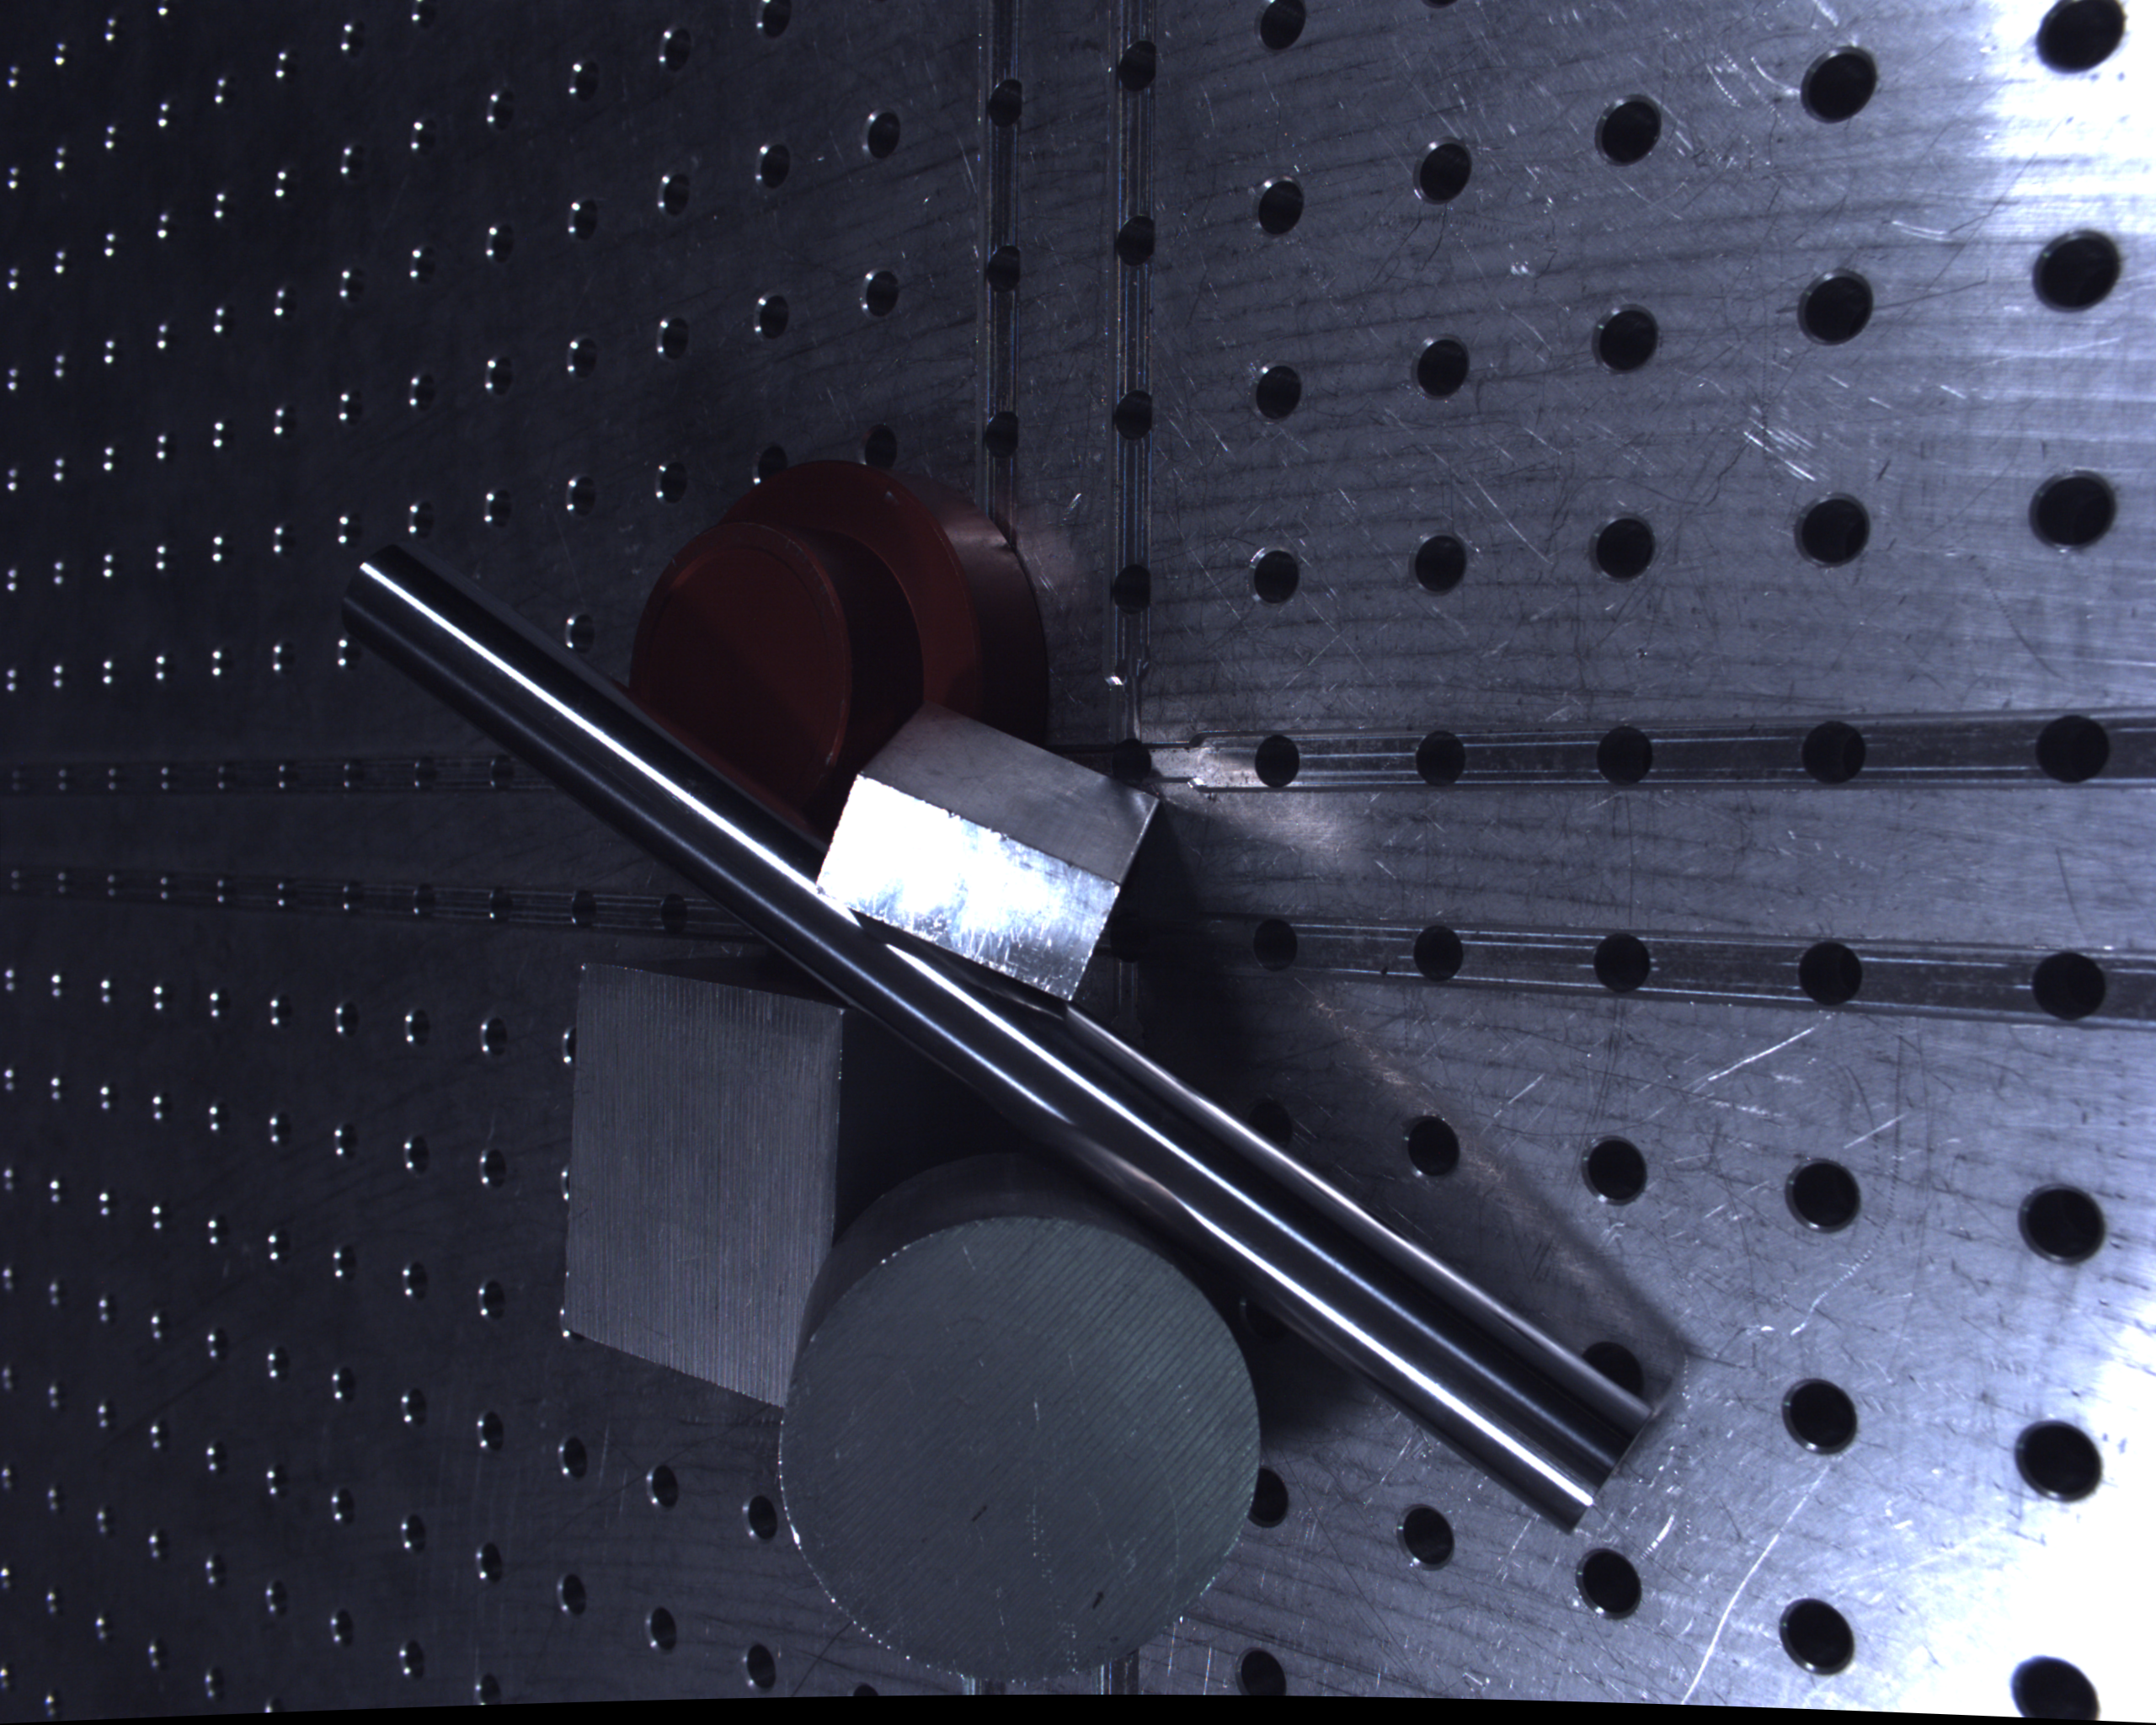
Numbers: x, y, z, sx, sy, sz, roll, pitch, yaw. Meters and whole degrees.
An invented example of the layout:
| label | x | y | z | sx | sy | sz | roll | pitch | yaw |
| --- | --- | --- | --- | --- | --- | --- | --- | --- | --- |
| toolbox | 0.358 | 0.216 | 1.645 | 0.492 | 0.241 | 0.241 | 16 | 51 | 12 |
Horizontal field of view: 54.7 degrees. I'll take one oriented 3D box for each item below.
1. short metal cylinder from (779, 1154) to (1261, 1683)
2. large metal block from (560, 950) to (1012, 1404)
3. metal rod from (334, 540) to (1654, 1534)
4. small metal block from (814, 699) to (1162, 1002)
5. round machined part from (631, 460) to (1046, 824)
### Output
| label | x | y | z | sx | sy | sz | roll | pitch | yaw |
| --- | --- | --- | --- | --- | --- | --- | --- | --- | --- |
| short metal cylinder | -0.011 | 0.096 | 0.373 | 0.081 | 0.050 | 0.079 | 0 | 94 | -5 |
| large metal block | -0.061 | 0.063 | 0.438 | 0.080 | 0.050 | 0.079 | 6 | 94 | 39 |
| metal rod | -0.031 | 0.020 | 0.390 | 0.300 | 0.025 | 0.025 | 34 | 111 | 21 |
| small metal block | -0.015 | -0.004 | 0.391 | 0.050 | 0.050 | 0.025 | 23 | 111 | 2 |
| round machined part | -0.057 | -0.037 | 0.443 | 0.098 | 0.042 | 0.097 | 0 | 90 | 39 |
